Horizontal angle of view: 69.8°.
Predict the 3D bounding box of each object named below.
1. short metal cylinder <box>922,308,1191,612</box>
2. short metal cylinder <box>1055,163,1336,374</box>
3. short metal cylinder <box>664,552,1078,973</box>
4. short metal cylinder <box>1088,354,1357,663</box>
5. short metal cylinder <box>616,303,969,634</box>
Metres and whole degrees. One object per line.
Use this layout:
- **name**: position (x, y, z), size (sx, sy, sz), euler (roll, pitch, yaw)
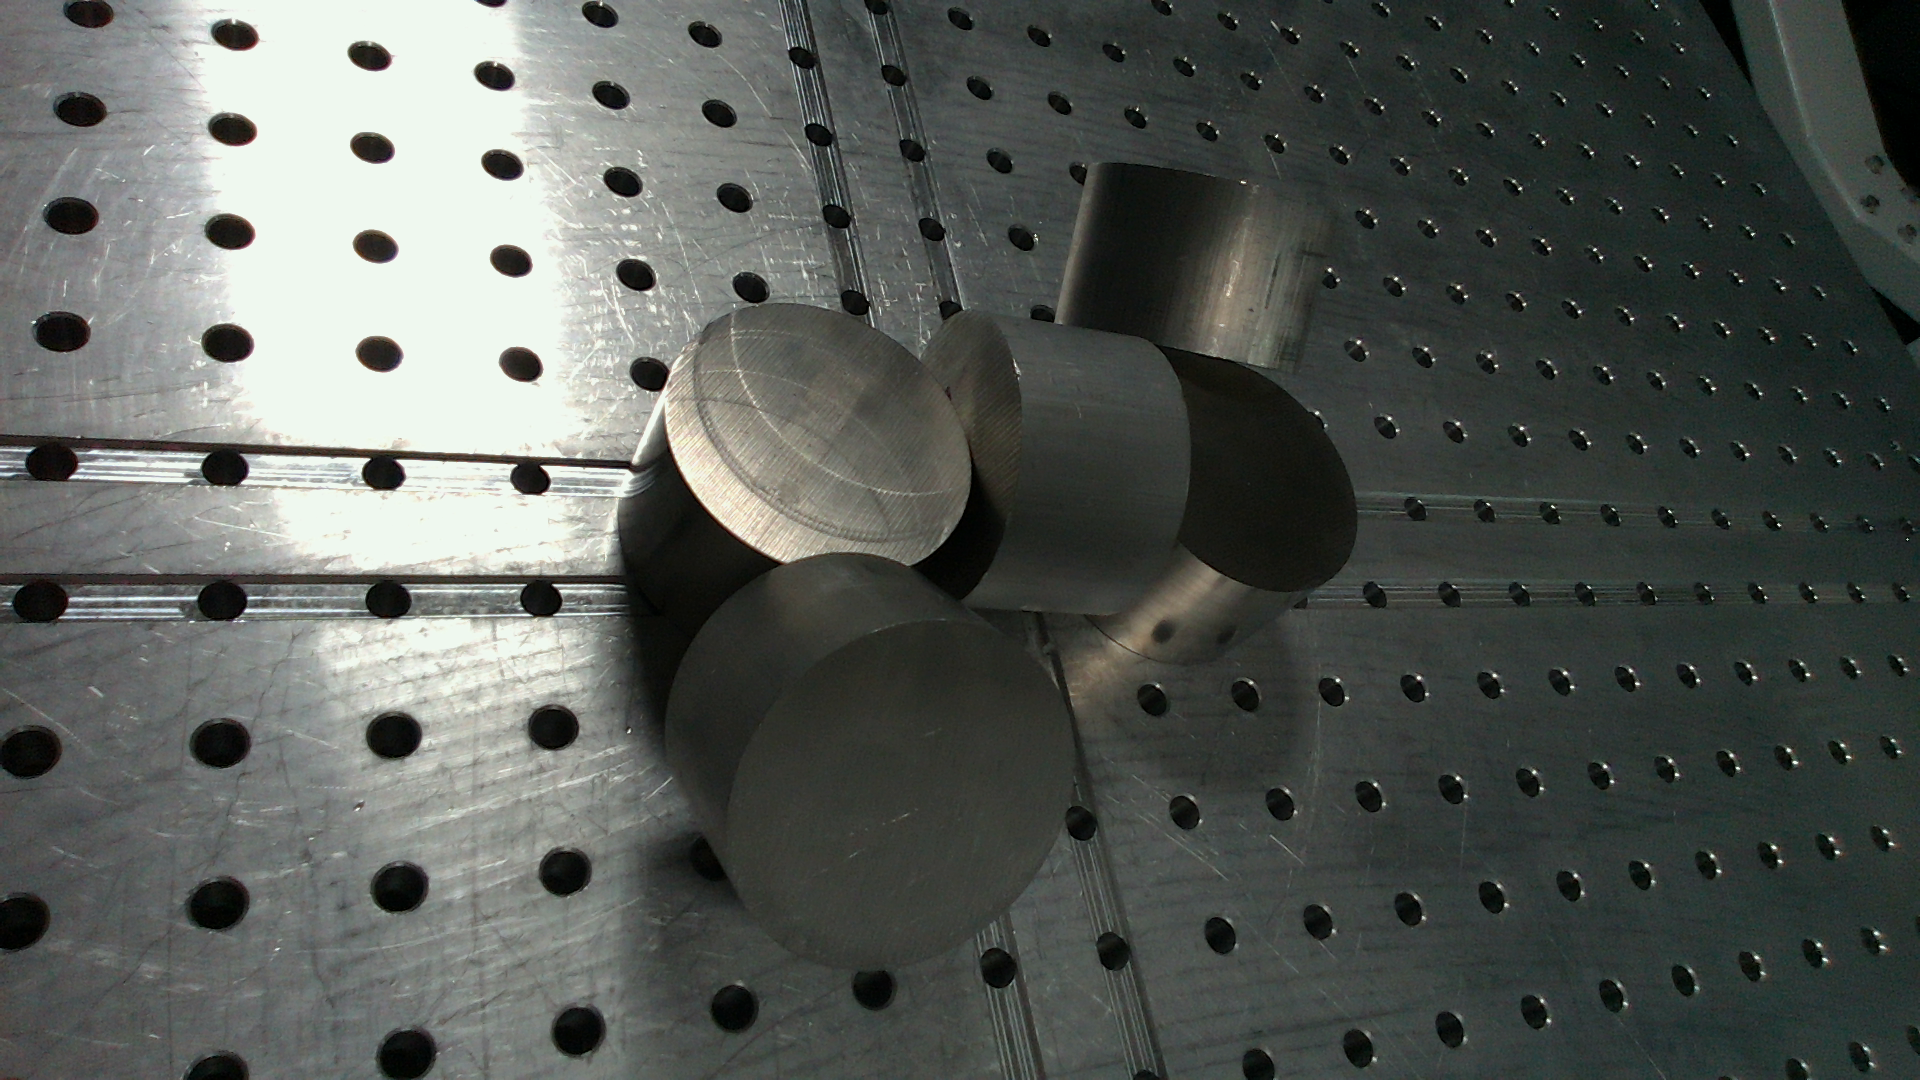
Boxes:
- **short metal cylinder**: position (0.020, -0.021, 0.380), size (0.050, 0.080, 0.080), euler (5, 59, -26)
- **short metal cylinder**: position (0.074, -0.086, 0.441), size (0.080, 0.080, 0.050), euler (8, 100, -24)
- **short metal cylinder**: position (-0.021, 0.048, 0.310), size (0.080, 0.050, 0.080), euler (-8, 109, -25)
- **short metal cylinder**: position (0.073, -0.009, 0.420), size (0.080, 0.050, 0.080), euler (14, 56, -21)
- **short metal cylinder**: position (-0.044, -0.015, 0.361), size (0.080, 0.050, 0.080), euler (14, 56, -21)
